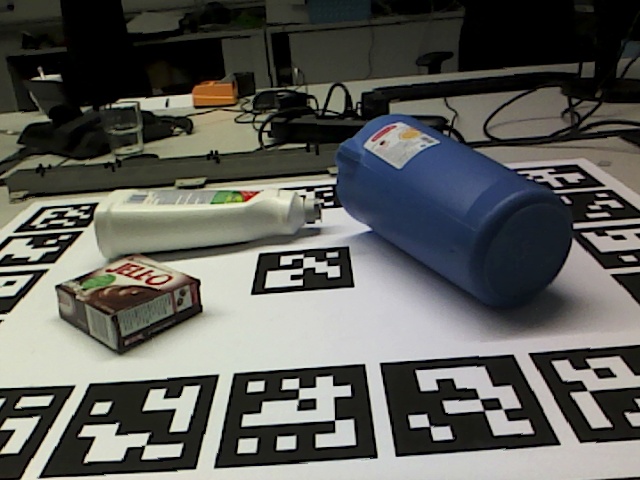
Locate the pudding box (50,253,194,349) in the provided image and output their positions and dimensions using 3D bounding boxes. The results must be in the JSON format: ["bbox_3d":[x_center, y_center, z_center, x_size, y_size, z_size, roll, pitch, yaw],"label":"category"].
[{"bbox_3d":[-0.186,0.053,0.582,0.089,0.038,0.115,-19,30,-41],"label":"pudding box"}]

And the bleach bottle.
[{"bbox_3d":[-0.129,-0.030,0.736,0.250,0.068,0.103,-4,29,-2],"label":"bleach bottle"}]

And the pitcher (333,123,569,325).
[{"bbox_3d":[0.130,-0.017,0.625,0.187,0.133,0.244,21,15,-34],"label":"pitcher"}]
